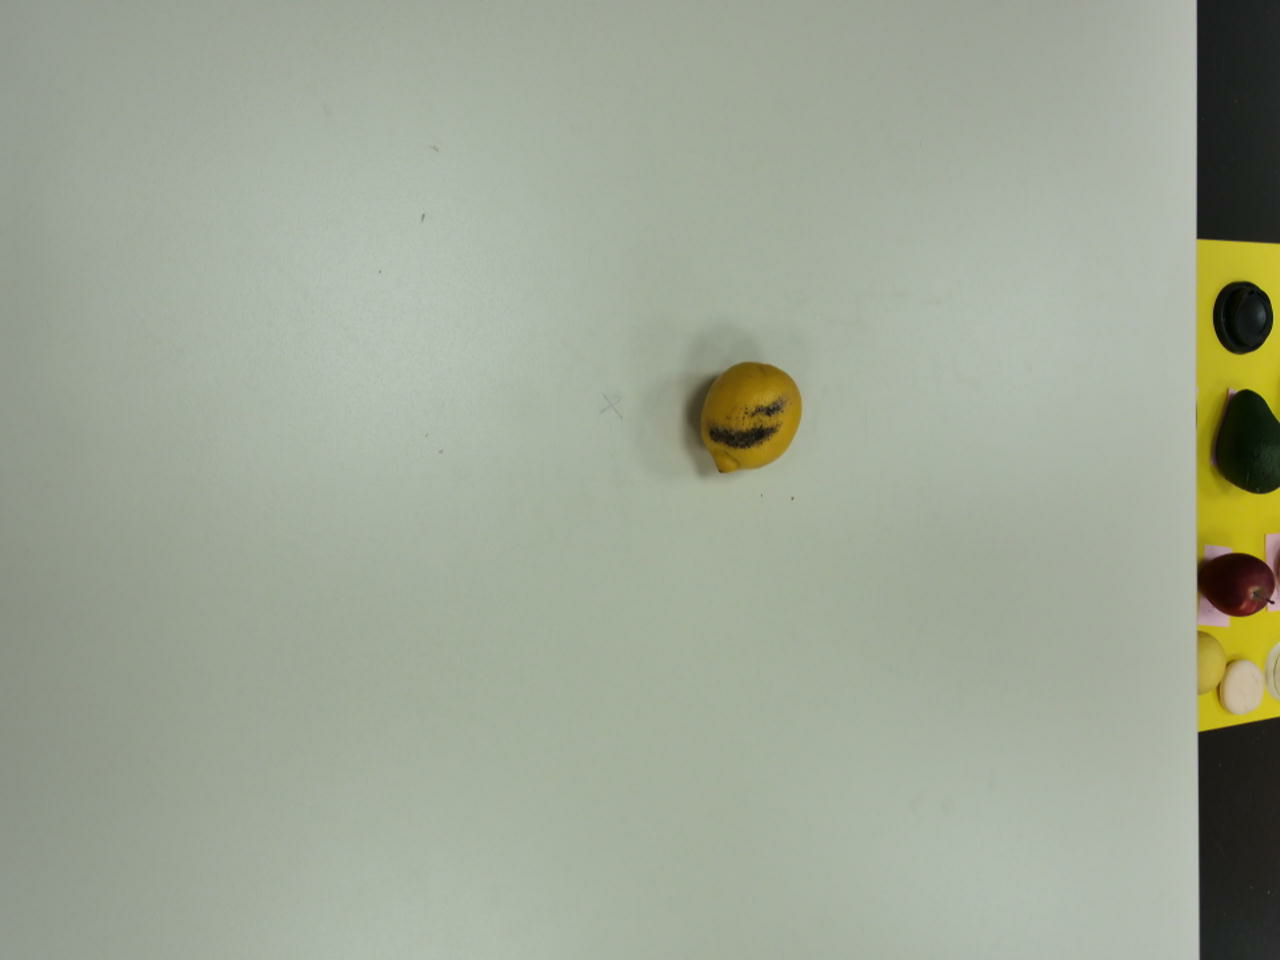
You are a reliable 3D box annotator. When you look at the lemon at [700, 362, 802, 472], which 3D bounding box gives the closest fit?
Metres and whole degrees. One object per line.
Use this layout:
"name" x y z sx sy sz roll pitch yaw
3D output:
"lemon" 0.064 -0.037 0.571 0.058 0.056 0.061 -9 94 -22
